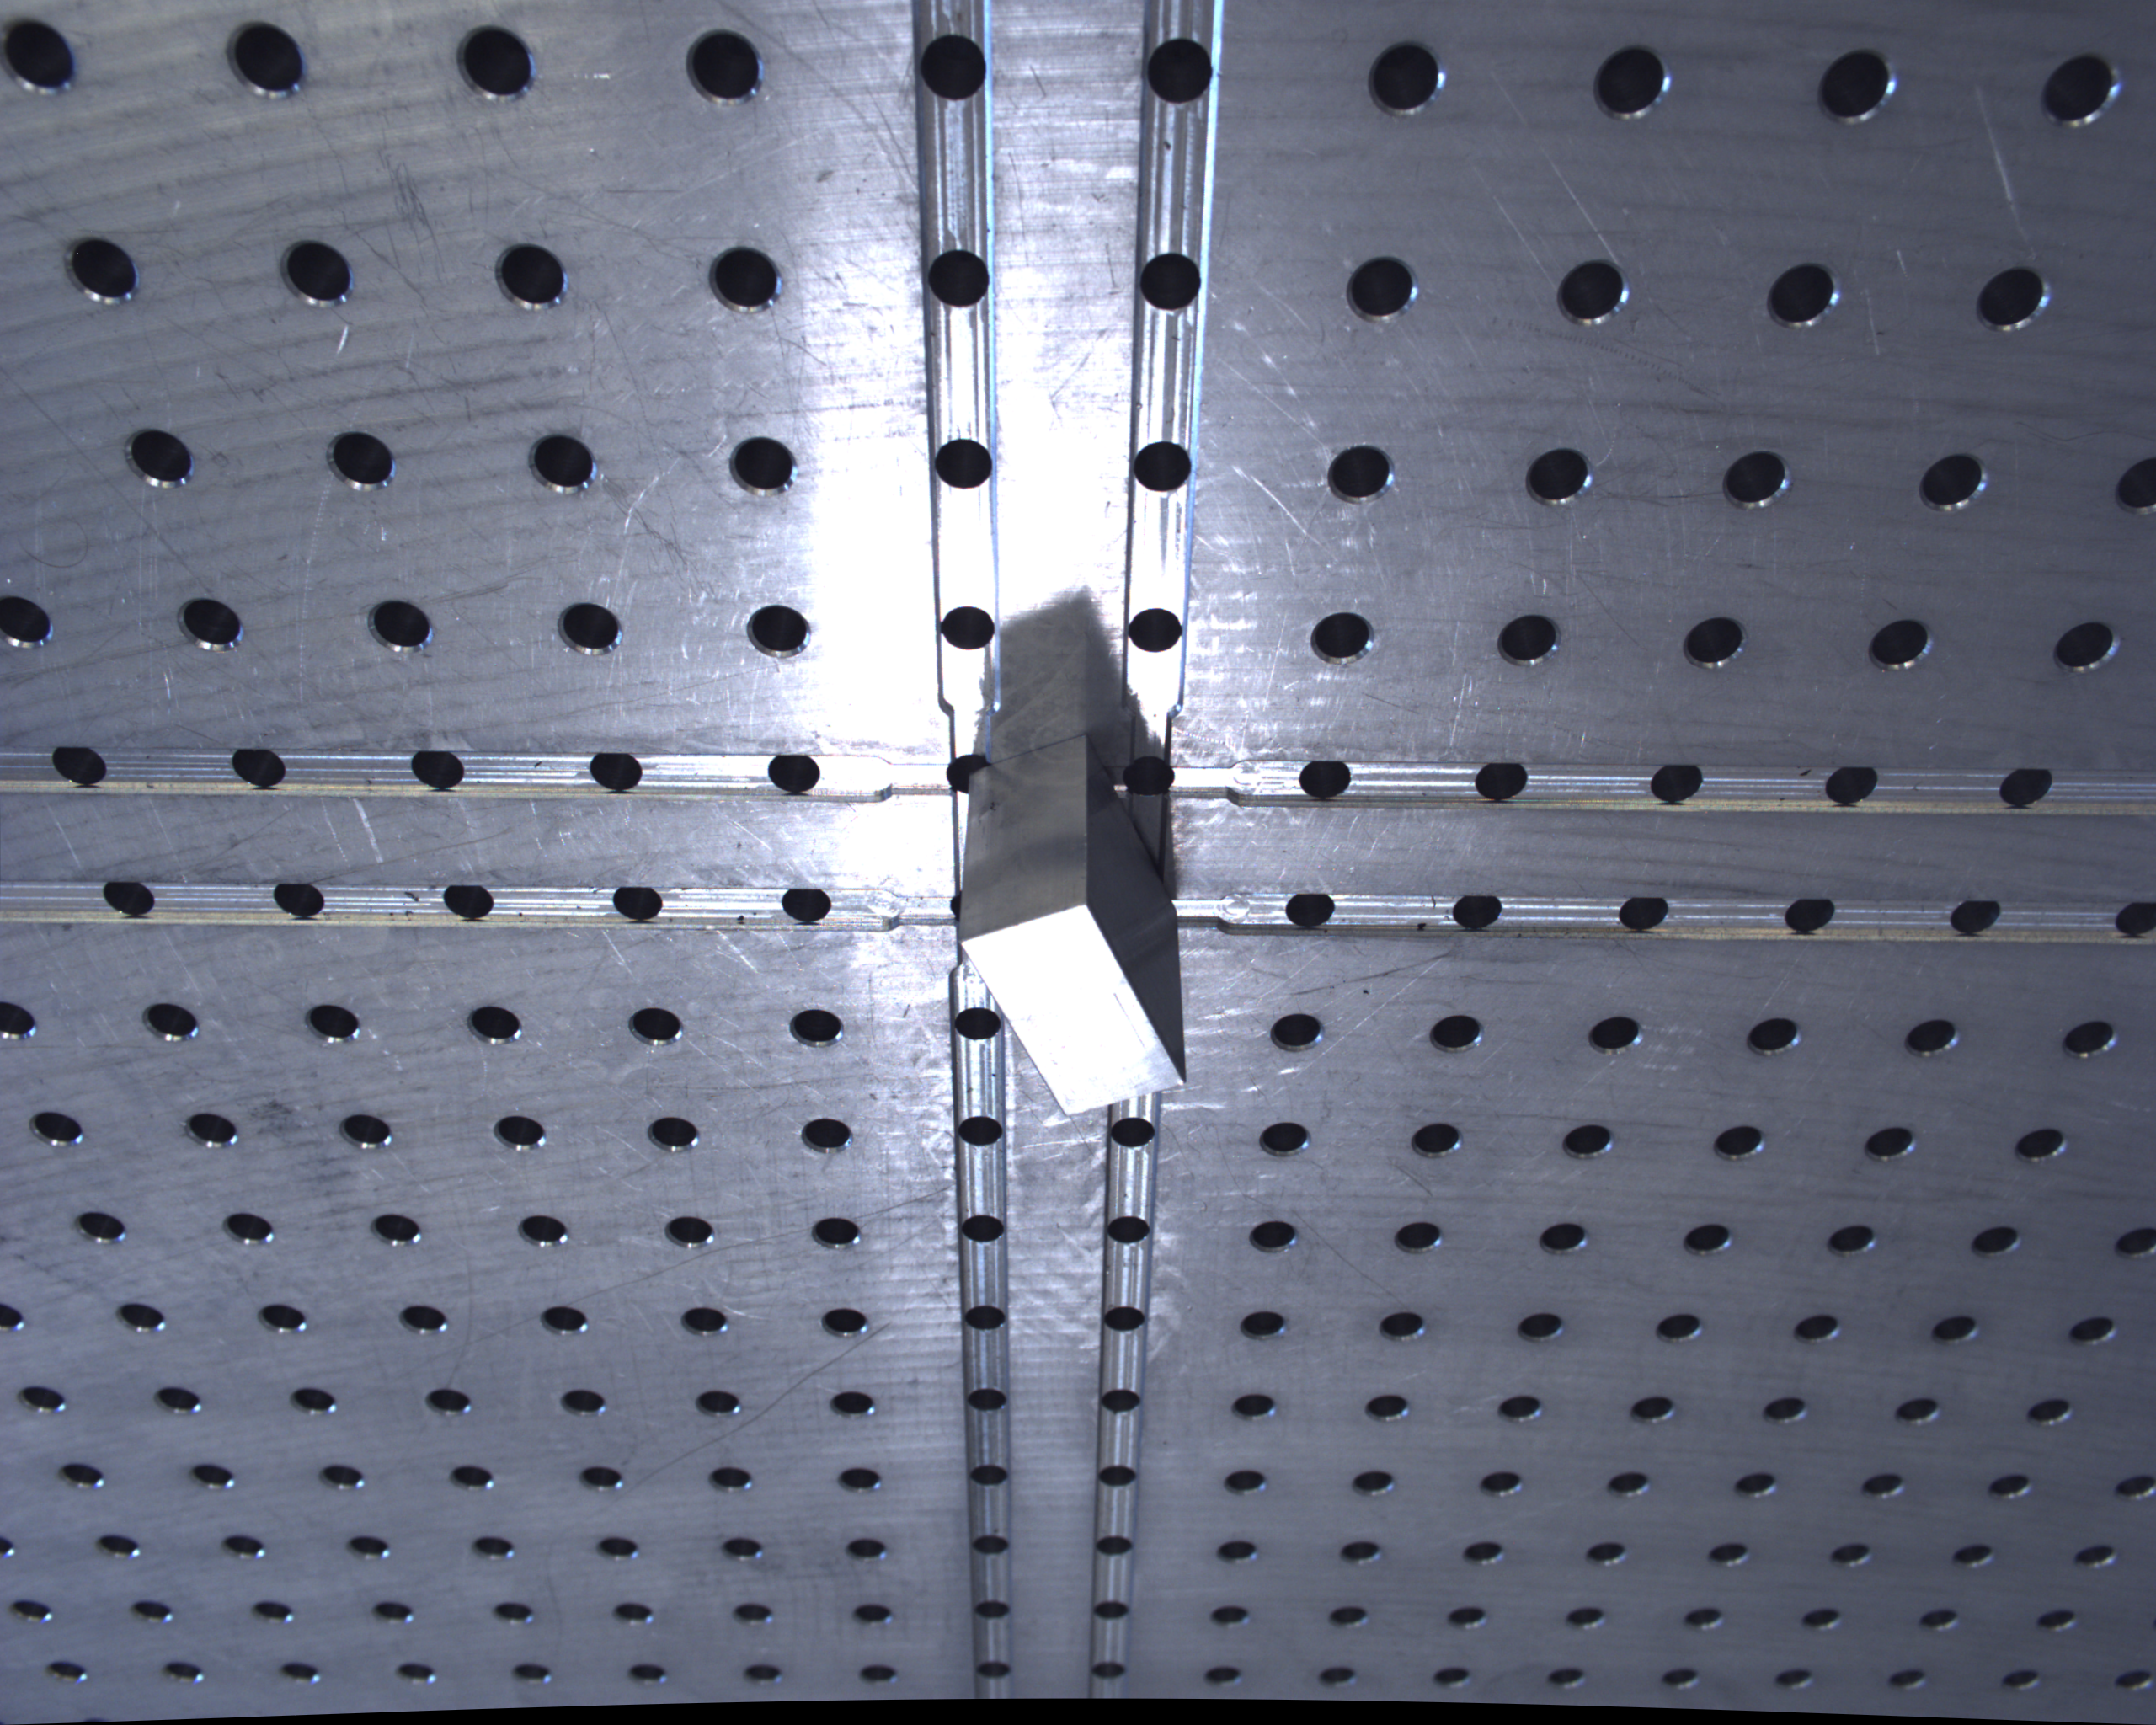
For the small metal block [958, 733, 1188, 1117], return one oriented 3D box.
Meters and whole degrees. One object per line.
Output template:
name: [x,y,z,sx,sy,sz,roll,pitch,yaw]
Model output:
small metal block: [0.000,0.012,0.405,0.025,0.050,0.050,-18,128,14]
